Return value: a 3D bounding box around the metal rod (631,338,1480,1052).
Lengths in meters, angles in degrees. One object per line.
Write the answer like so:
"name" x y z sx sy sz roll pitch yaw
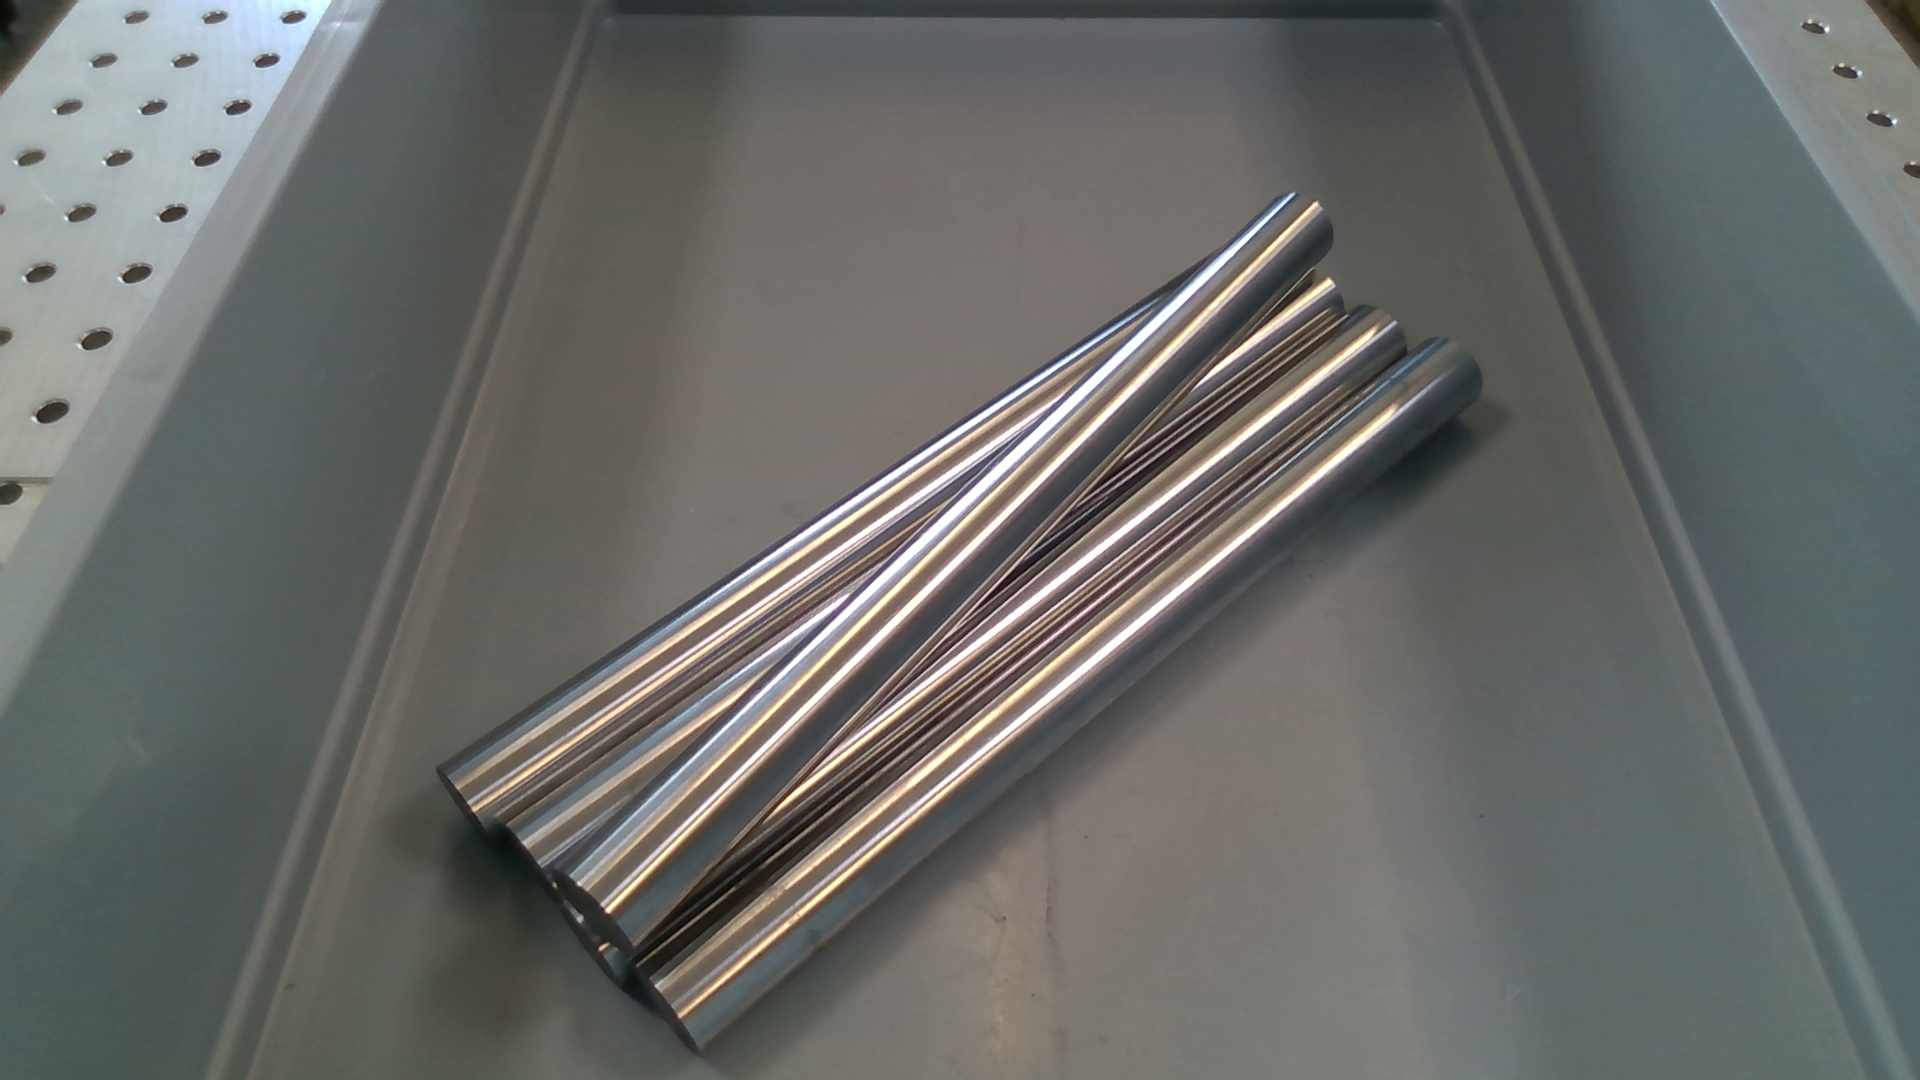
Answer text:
"metal rod" 0.044 0.025 0.371 0.300 0.025 0.025 -36 59 -26

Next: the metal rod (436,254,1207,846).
"metal rod" -0.012 -0.013 0.403 0.300 0.025 0.025 -36 59 -26

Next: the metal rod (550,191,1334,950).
"metal rod" 0.015 -0.011 0.368 0.025 0.025 0.299 32 57 24

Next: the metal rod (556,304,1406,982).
"metal rod" 0.024 0.013 0.382 0.300 0.025 0.025 -36 59 -26

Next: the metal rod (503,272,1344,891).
"metal rod" 0.008 -0.001 0.394 0.300 0.025 0.025 -36 59 -26
